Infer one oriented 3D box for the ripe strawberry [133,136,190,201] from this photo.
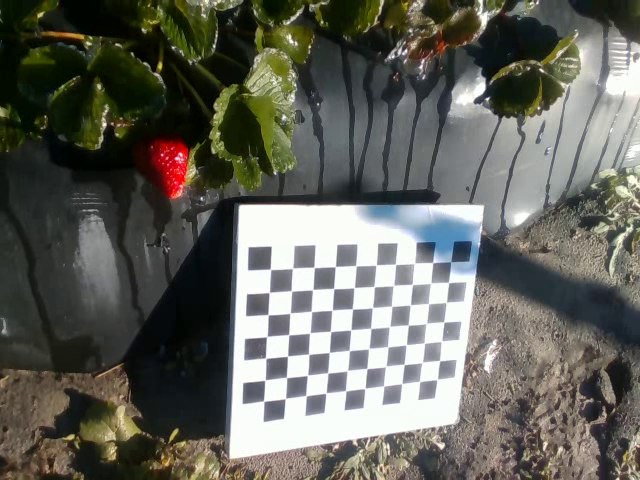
[{"bbox_3d":[-0.108,-0.050,0.427,0.042,0.052,0.047,-8,-22,-21],"label":"ripe strawberry"}]
